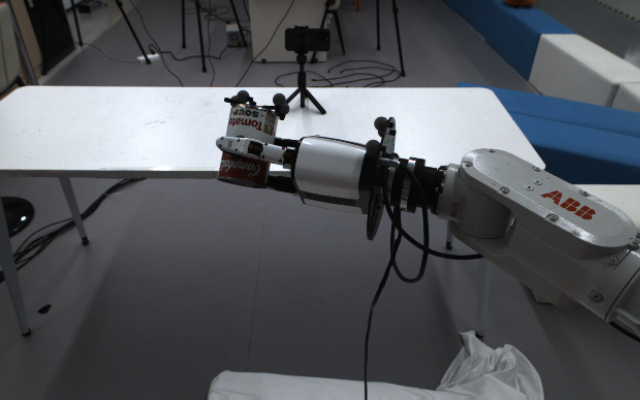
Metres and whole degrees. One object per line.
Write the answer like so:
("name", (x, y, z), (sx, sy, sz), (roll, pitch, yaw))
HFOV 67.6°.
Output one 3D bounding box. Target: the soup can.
("soup can", (-0.098, -0.070, 0.660), (0.067, 0.101, 0.067), (9, -5, 1))
